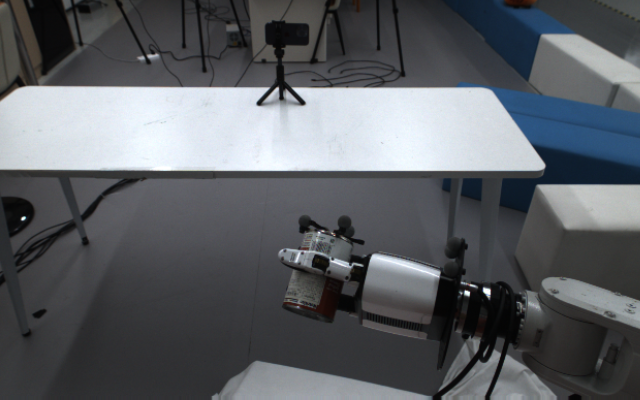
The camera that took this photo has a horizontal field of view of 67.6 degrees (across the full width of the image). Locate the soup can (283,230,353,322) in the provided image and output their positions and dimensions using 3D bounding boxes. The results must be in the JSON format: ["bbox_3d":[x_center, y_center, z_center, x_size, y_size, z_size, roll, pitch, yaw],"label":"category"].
[{"bbox_3d":[0.000,0.095,0.609,0.067,0.067,0.101,12,70,14],"label":"soup can"}]
